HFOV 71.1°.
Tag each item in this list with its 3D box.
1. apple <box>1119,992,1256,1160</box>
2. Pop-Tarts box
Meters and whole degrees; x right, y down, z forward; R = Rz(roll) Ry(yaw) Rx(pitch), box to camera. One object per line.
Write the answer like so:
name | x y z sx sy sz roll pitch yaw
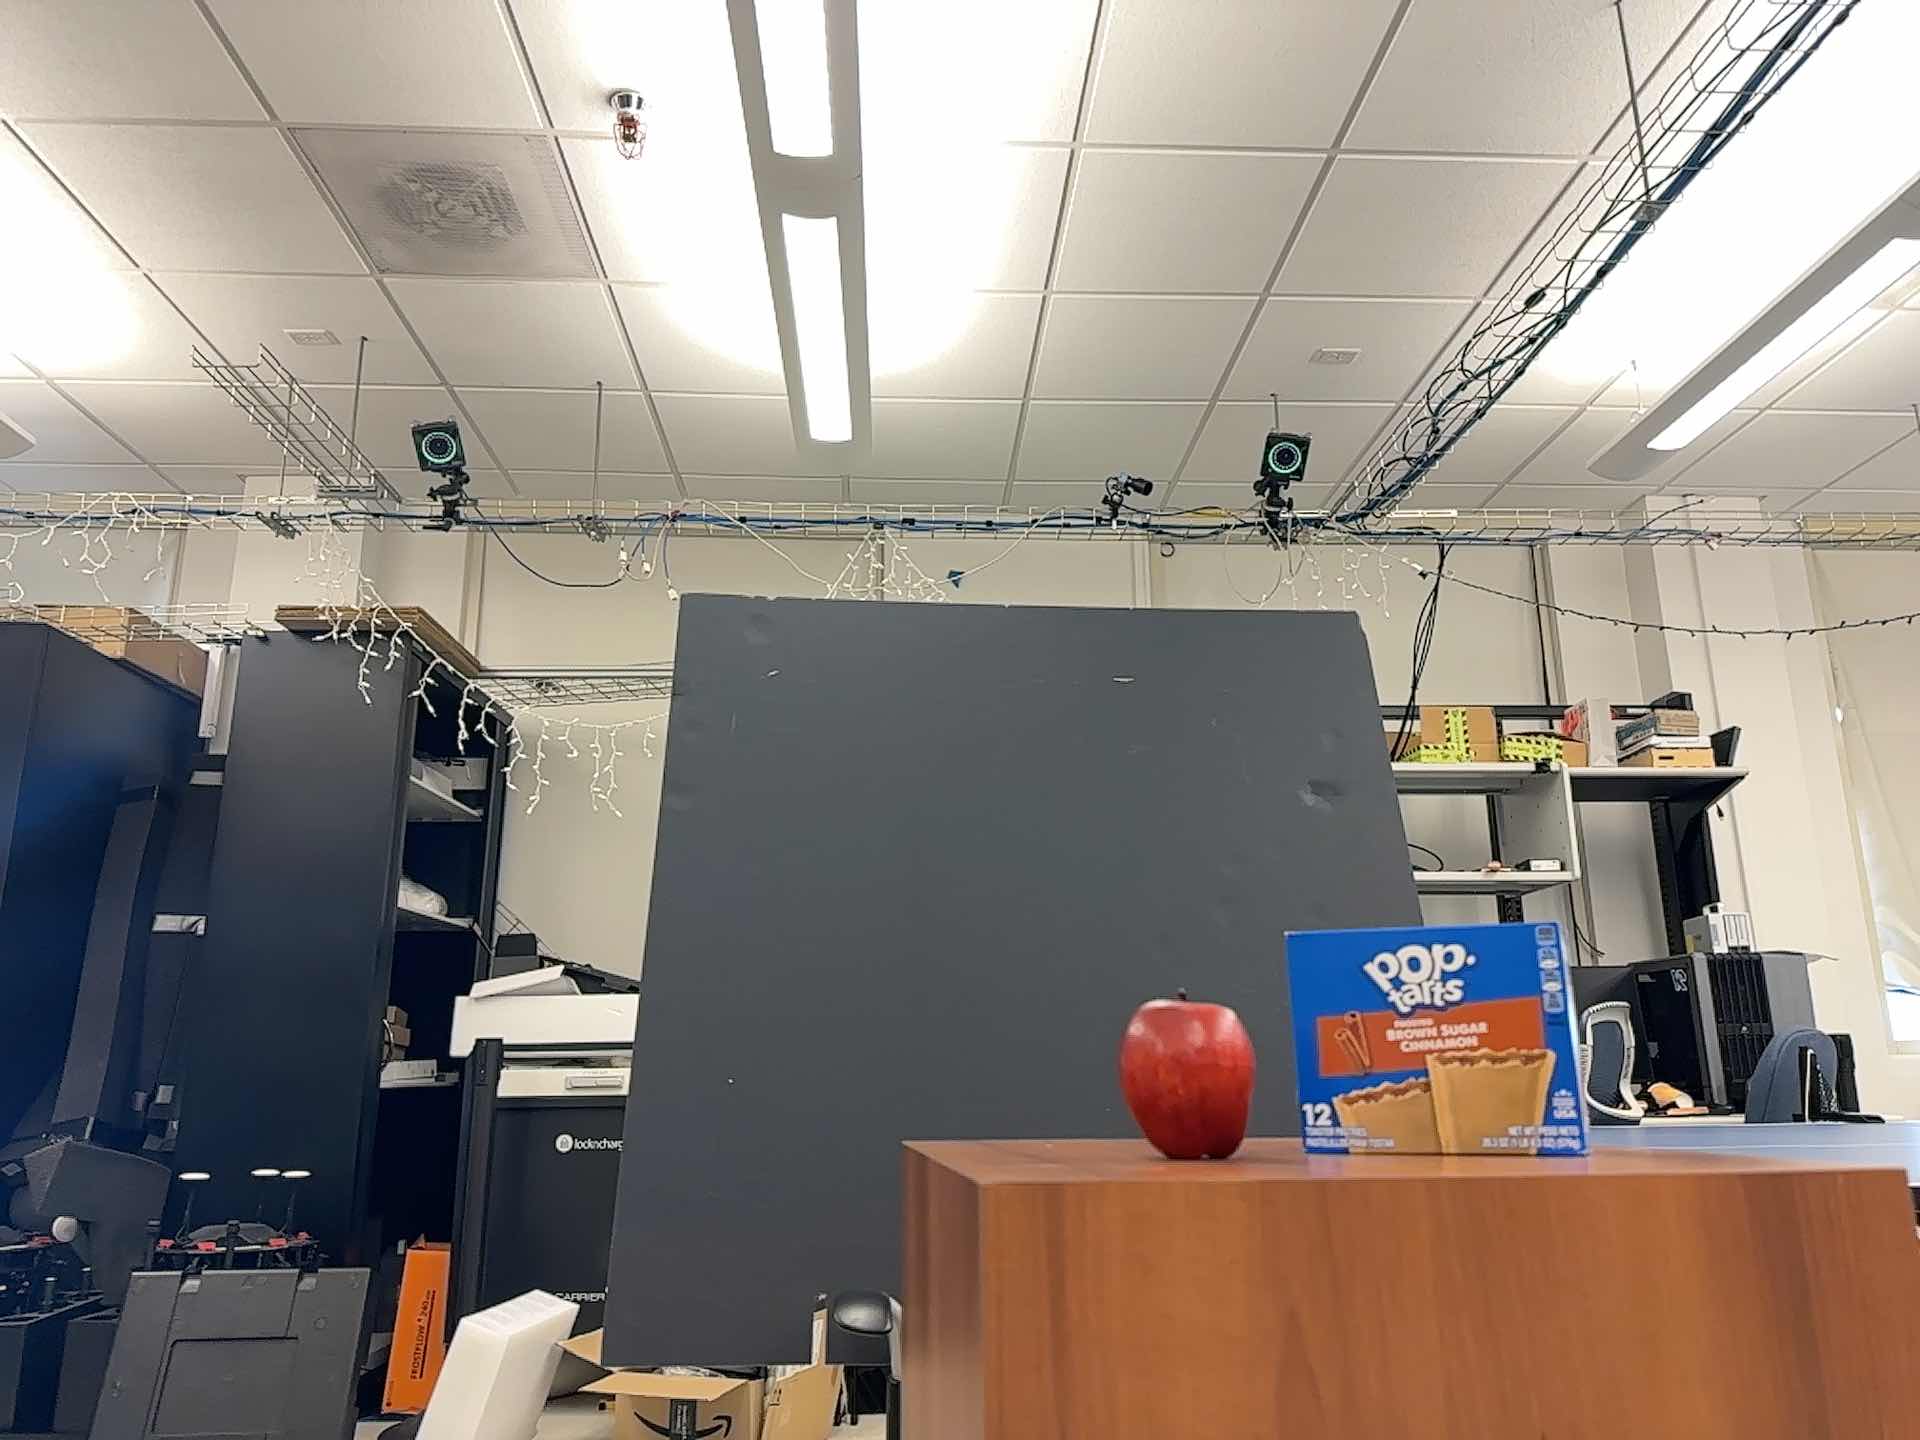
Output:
apple | 0.133 0.206 0.783 0.079 0.093 0.079 1 -14 0
Pop-Tarts box | 0.305 0.205 0.858 0.161 0.135 0.075 -7 -17 25
